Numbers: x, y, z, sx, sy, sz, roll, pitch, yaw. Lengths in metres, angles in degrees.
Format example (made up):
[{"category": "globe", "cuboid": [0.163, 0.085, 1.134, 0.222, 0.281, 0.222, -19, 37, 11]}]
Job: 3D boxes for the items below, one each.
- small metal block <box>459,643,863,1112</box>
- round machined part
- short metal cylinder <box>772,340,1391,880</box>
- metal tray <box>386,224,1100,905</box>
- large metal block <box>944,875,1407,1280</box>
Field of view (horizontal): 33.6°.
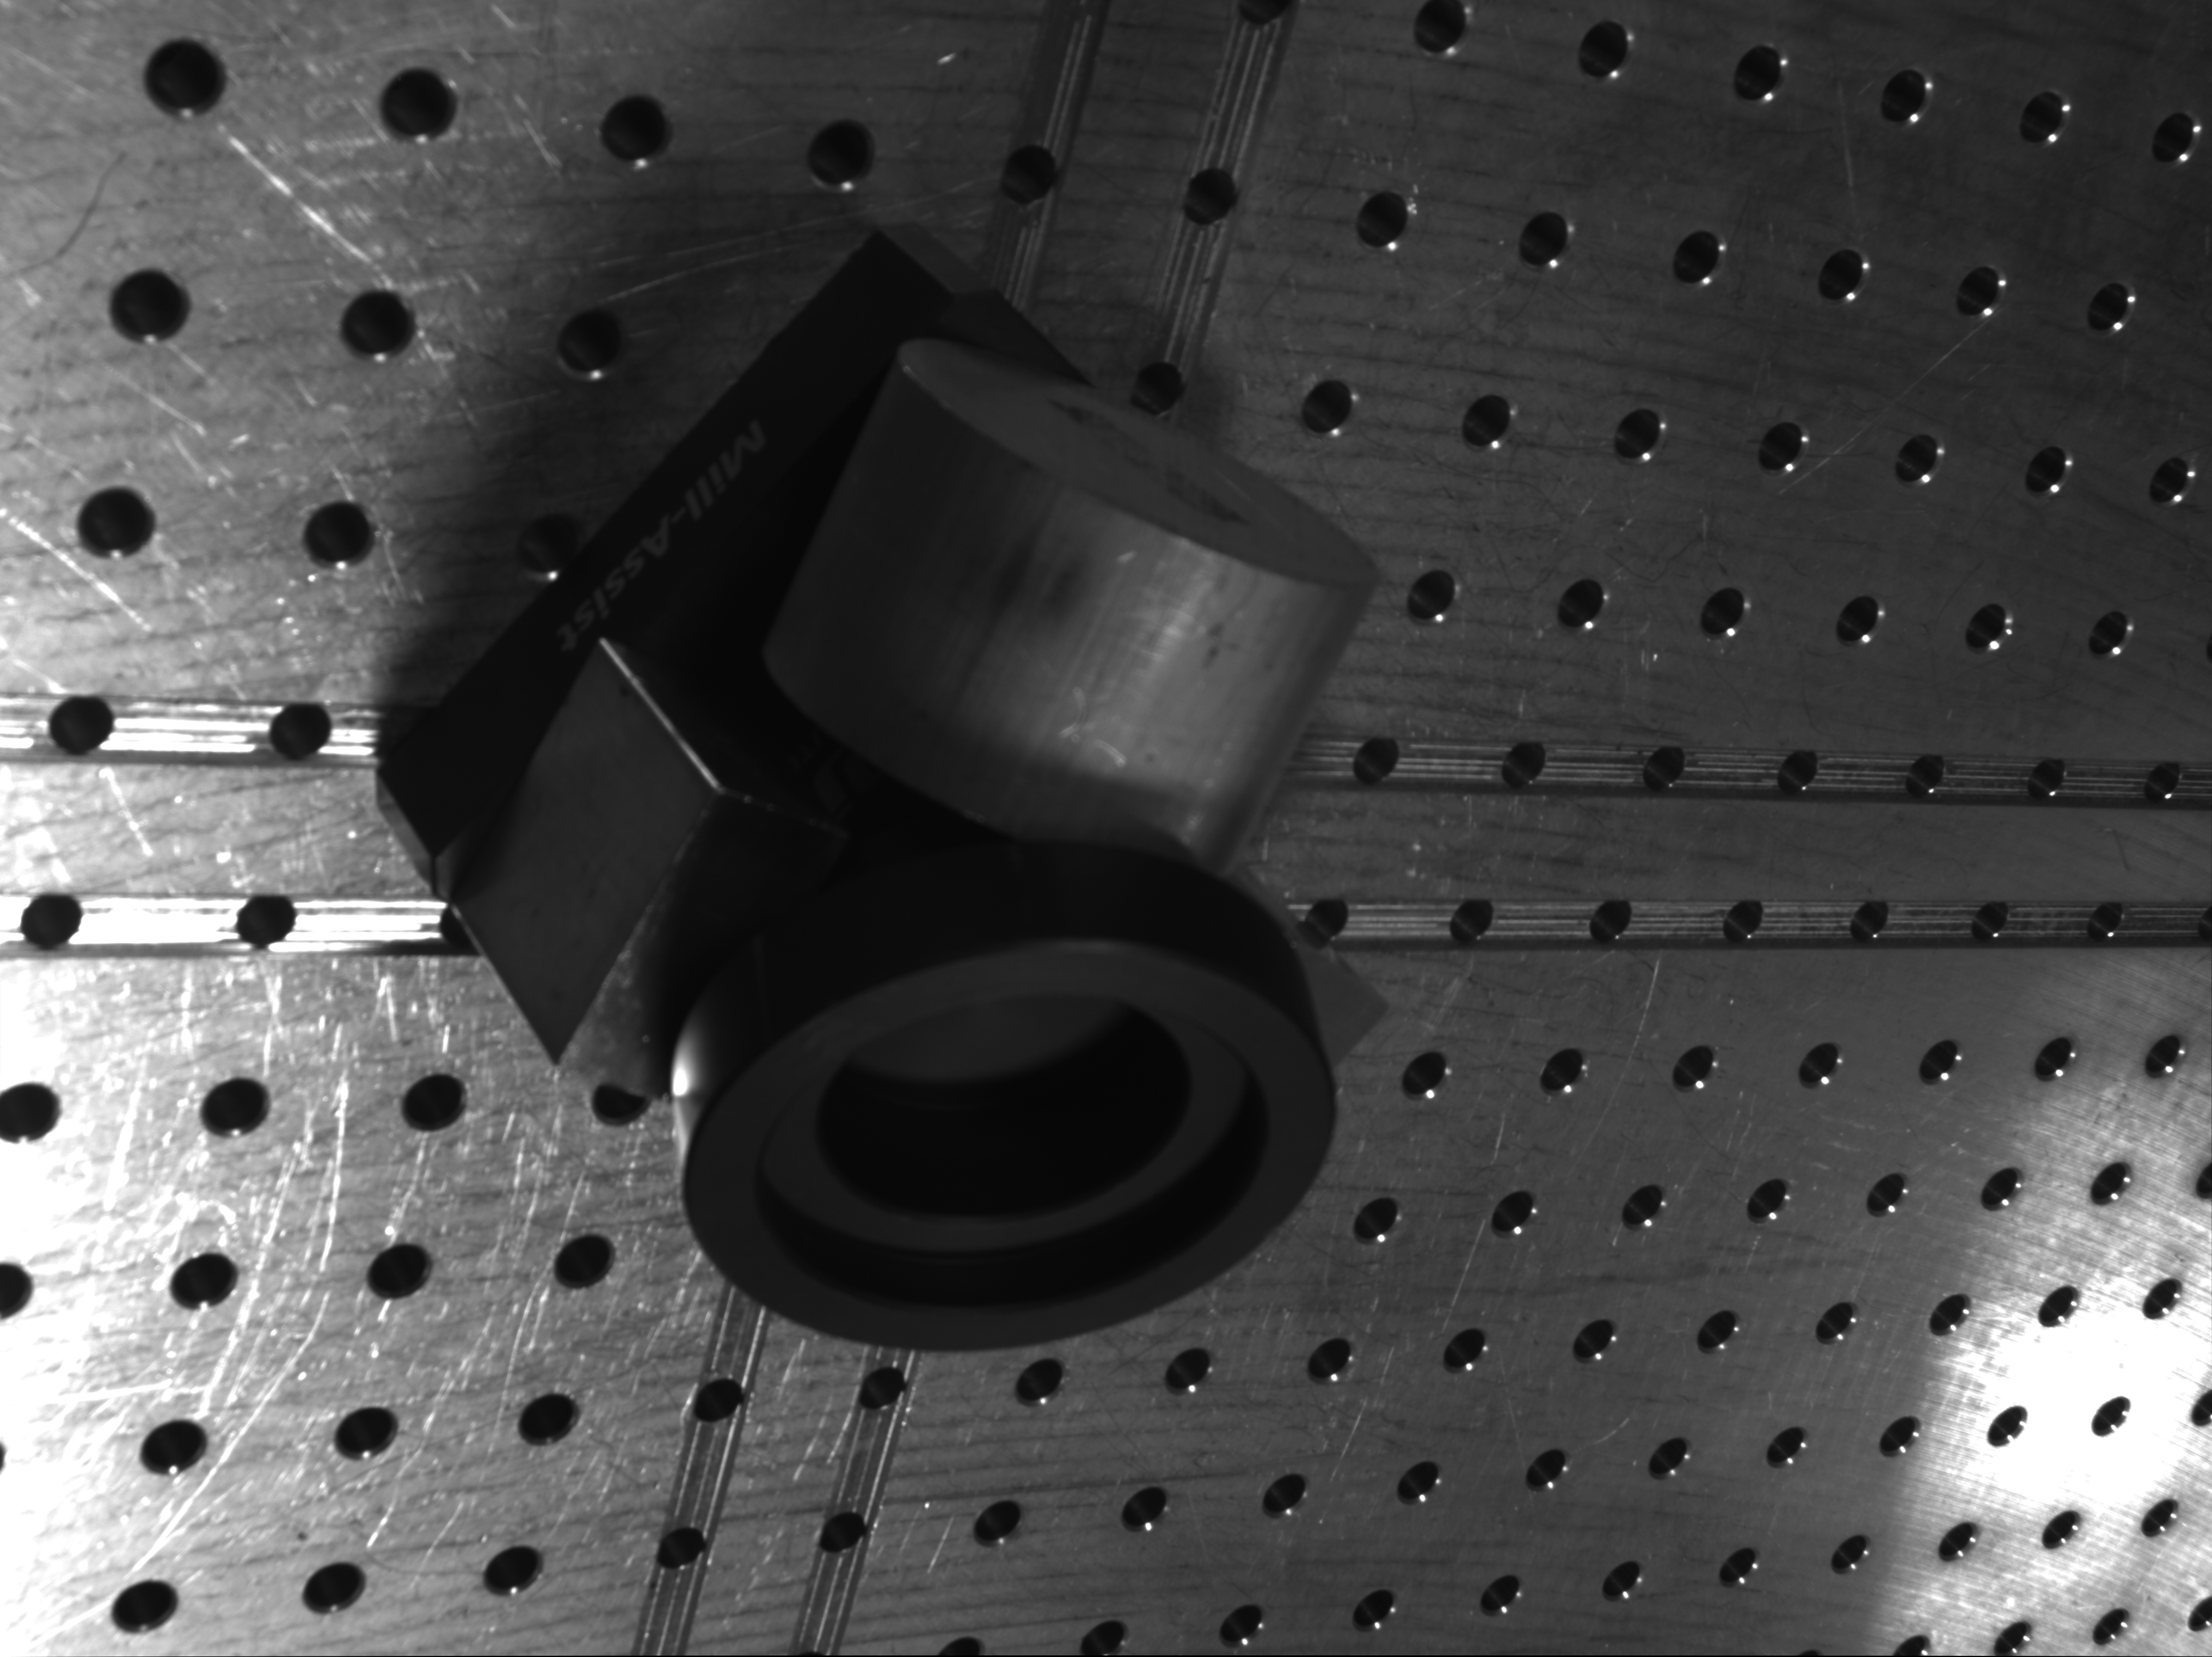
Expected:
[{"category": "small metal block", "cuboid": [-0.069, 0.008, 0.561, 0.025, 0.050, 0.050, 22, 106, -38]}, {"category": "round machined part", "cuboid": [-0.016, 0.035, 0.558, 0.098, 0.042, 0.098, -7, 138, -6]}, {"category": "short metal cylinder", "cuboid": [-0.004, -0.033, 0.556, 0.080, 0.080, 0.050, 15, 110, -36]}, {"category": "metal tray", "cuboid": [-0.044, -0.024, 0.611, 0.130, 0.030, 0.090, -47, 130, 3]}, {"category": "large metal block", "cuboid": [-0.001, 0.038, 0.637, 0.080, 0.050, 0.080, -47, 161, 3]}]
